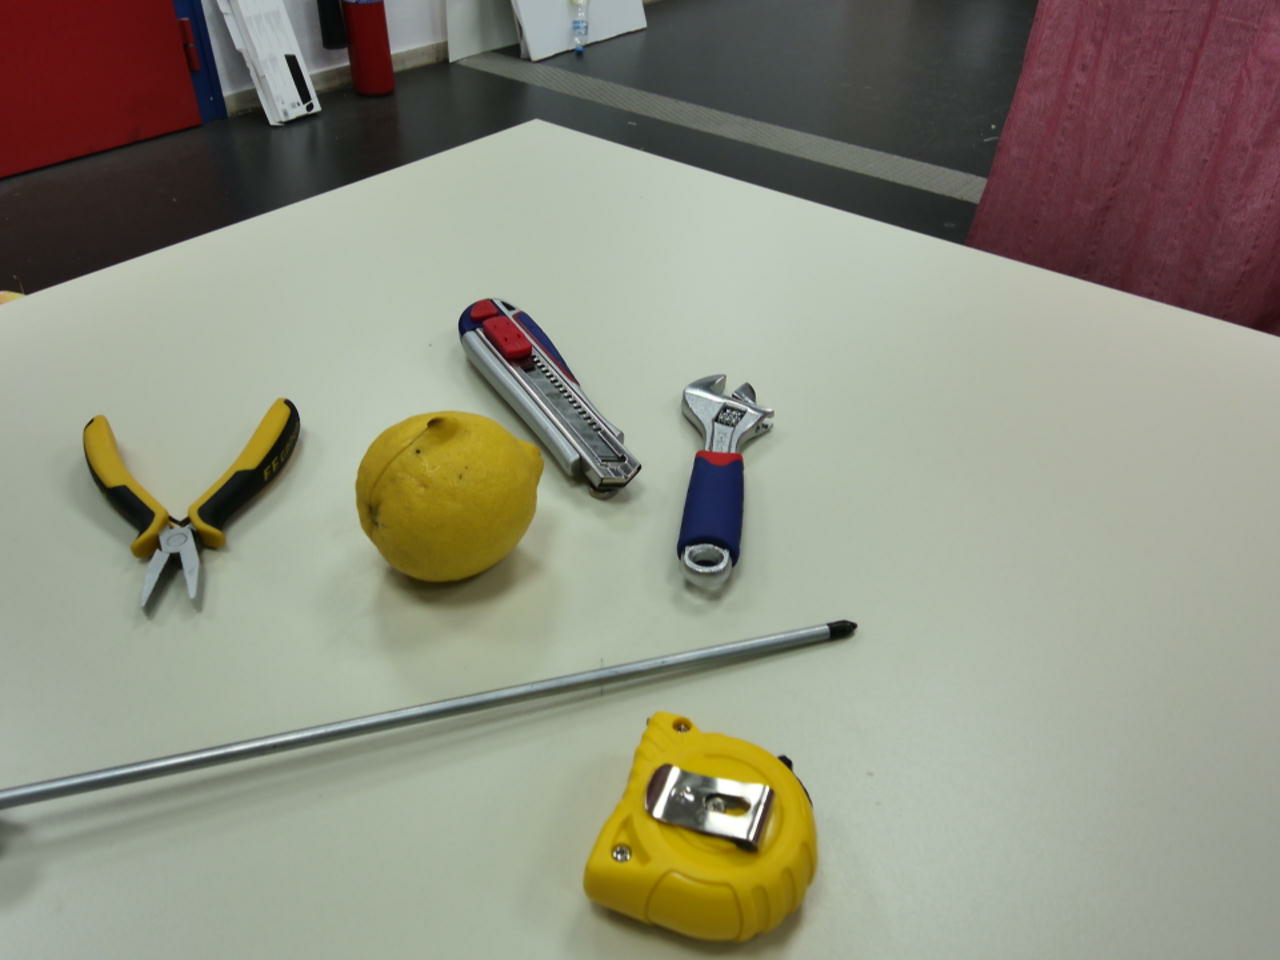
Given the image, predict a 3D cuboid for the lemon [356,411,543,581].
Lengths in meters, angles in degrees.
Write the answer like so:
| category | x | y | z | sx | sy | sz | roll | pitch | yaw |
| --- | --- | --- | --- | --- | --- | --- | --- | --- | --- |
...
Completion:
| category | x | y | z | sx | sy | sz | roll | pitch | yaw |
| --- | --- | --- | --- | --- | --- | --- | --- | --- | --- |
| lemon | -0.078 | 0.003 | 0.400 | 0.071 | 0.071 | 0.070 | 3 | 36 | 3 |
